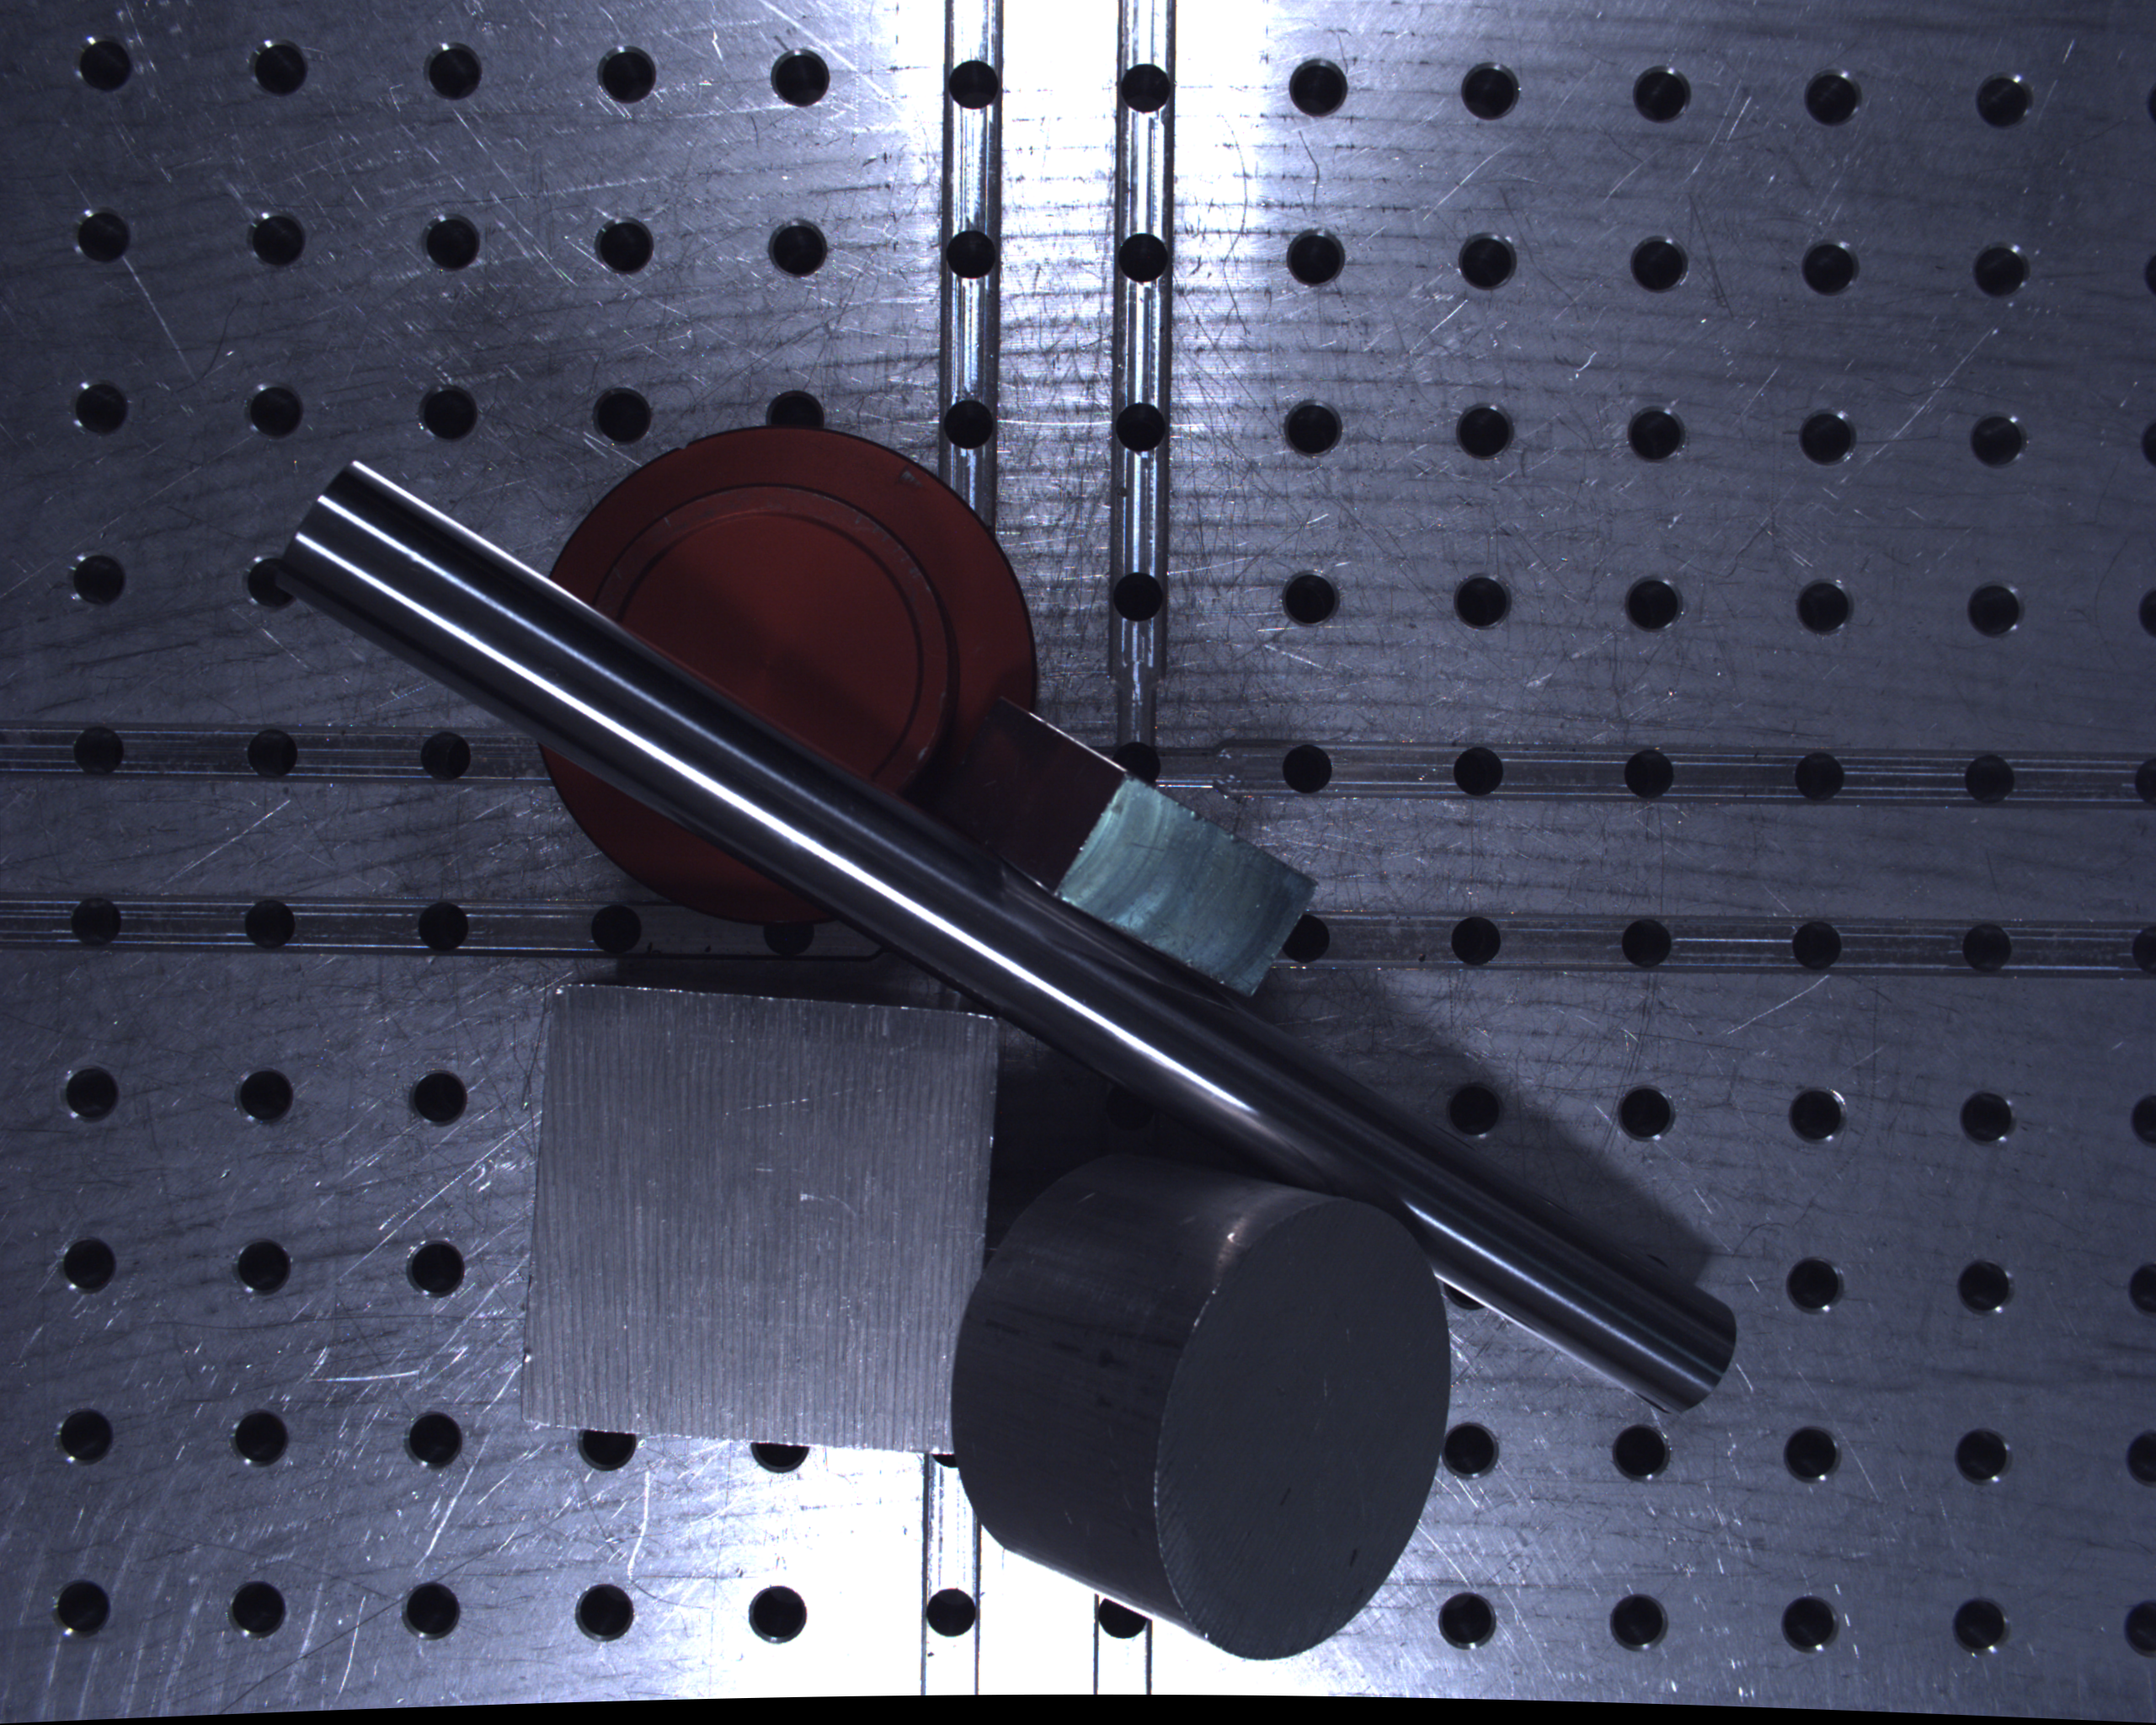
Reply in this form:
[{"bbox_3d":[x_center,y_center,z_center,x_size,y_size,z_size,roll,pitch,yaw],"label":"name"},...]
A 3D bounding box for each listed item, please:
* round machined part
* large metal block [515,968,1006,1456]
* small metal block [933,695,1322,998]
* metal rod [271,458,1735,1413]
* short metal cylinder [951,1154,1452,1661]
[{"bbox_3d":[-0.057,-0.036,0.404,0.099,0.042,0.097,0,90,-1],"label":"round machined part"},{"bbox_3d":[-0.057,0.063,0.398,0.081,0.050,0.079,5,90,-1],"label":"large metal block"},{"bbox_3d":[0.009,-0.003,0.391,0.050,0.050,0.025,28,94,-35],"label":"small metal block"},{"bbox_3d":[-0.003,0.021,0.381,0.301,0.025,0.025,32,90,-13],"label":"metal rod"},{"bbox_3d":[0.024,0.097,0.380,0.081,0.050,0.079,-5,97,-45],"label":"short metal cylinder"}]
